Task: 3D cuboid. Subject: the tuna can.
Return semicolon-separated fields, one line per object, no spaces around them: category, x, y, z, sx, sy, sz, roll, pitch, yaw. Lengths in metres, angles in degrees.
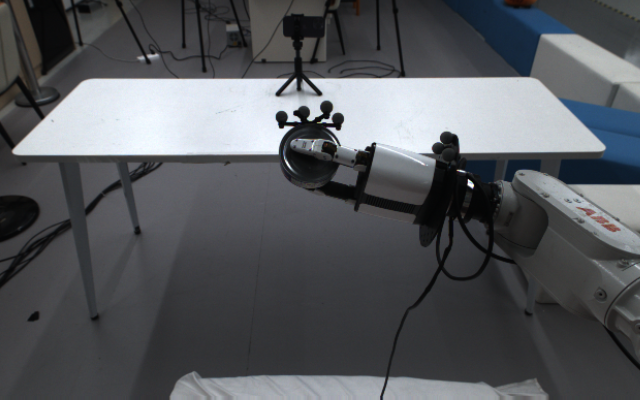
tuna can;-0.012;-0.057;0.662;0.085;0.034;0.085;1;71;-4
